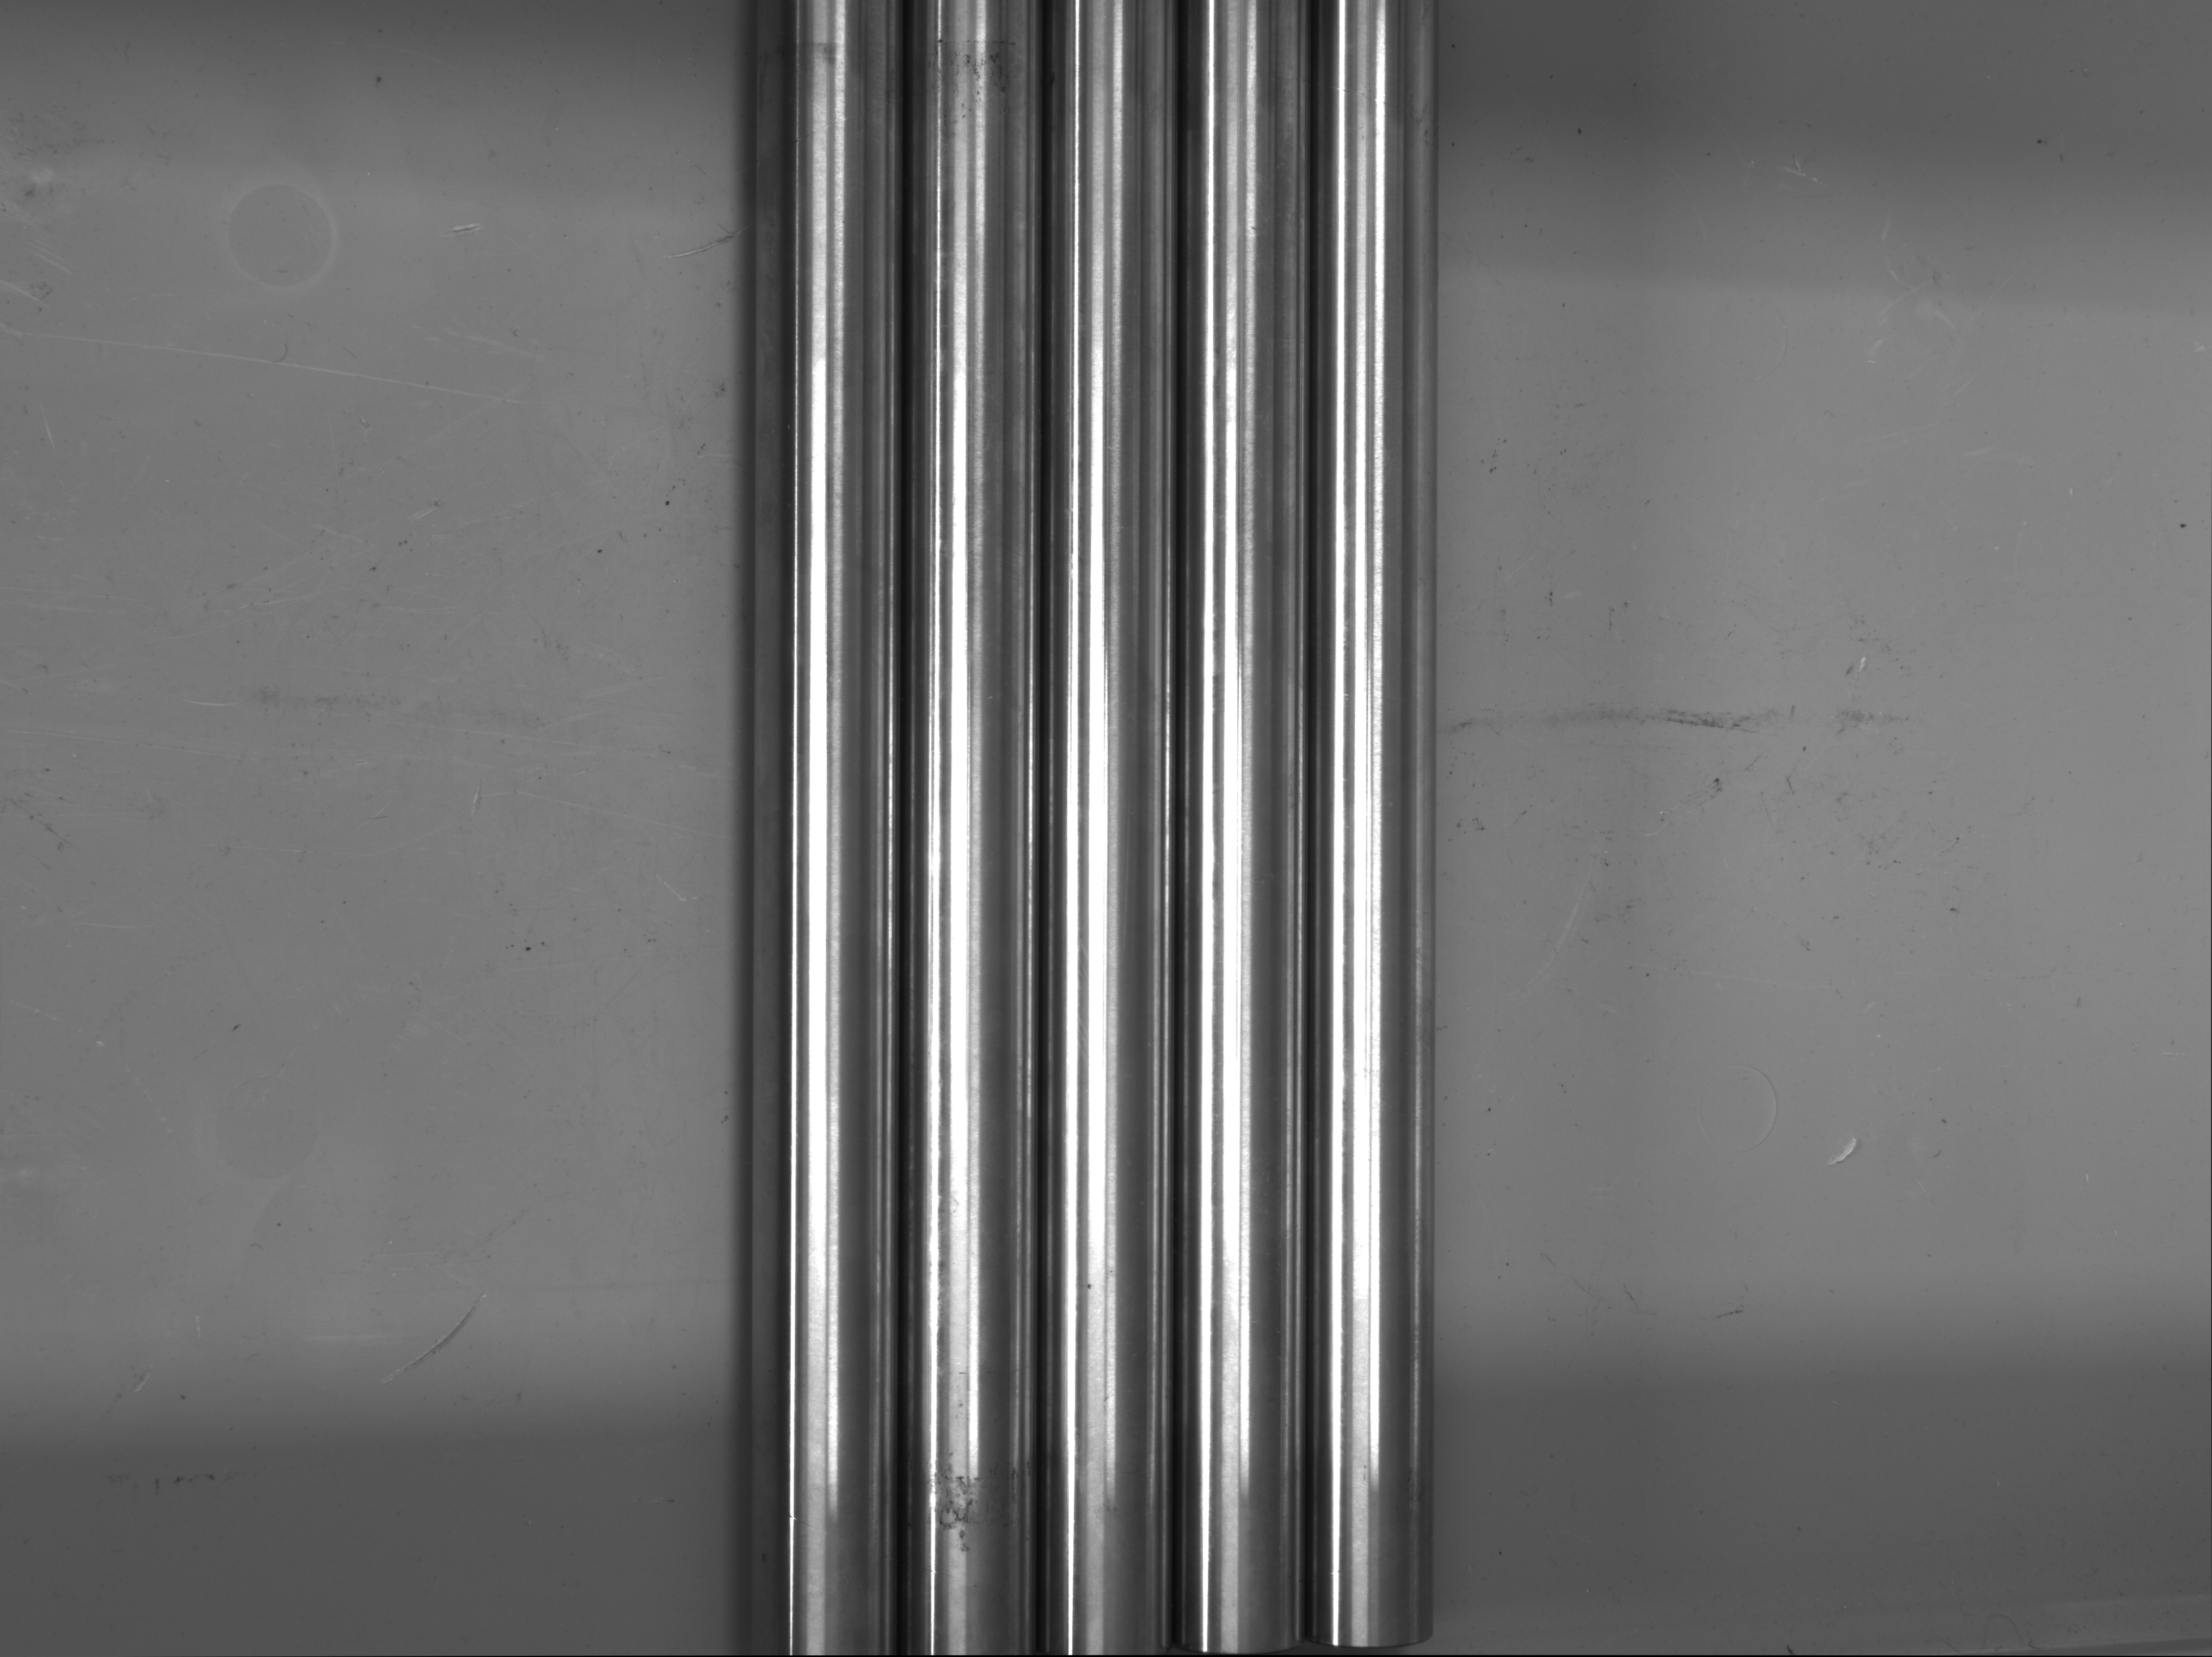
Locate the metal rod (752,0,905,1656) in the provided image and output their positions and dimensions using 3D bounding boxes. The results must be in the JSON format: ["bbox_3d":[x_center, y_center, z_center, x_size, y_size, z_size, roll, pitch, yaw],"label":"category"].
[{"bbox_3d":[-0.047,-0.006,0.625,0.025,0.025,0.300,0,90,-20],"label":"metal rod"}]

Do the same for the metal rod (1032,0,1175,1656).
[{"bbox_3d":[-0.001,-0.006,0.642,0.025,0.025,0.300,0,90,-20],"label":"metal rod"}]

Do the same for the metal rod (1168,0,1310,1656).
[{"bbox_3d":[0.023,-0.006,0.650,0.025,0.025,0.300,0,90,-20],"label":"metal rod"}]

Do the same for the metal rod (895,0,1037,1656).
[{"bbox_3d":[-0.025,-0.007,0.633,0.025,0.025,0.300,0,90,-20],"label":"metal rod"}]

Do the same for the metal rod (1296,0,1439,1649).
[{"bbox_3d":[0.047,-0.005,0.659,0.025,0.025,0.300,0,90,-20],"label":"metal rod"}]
